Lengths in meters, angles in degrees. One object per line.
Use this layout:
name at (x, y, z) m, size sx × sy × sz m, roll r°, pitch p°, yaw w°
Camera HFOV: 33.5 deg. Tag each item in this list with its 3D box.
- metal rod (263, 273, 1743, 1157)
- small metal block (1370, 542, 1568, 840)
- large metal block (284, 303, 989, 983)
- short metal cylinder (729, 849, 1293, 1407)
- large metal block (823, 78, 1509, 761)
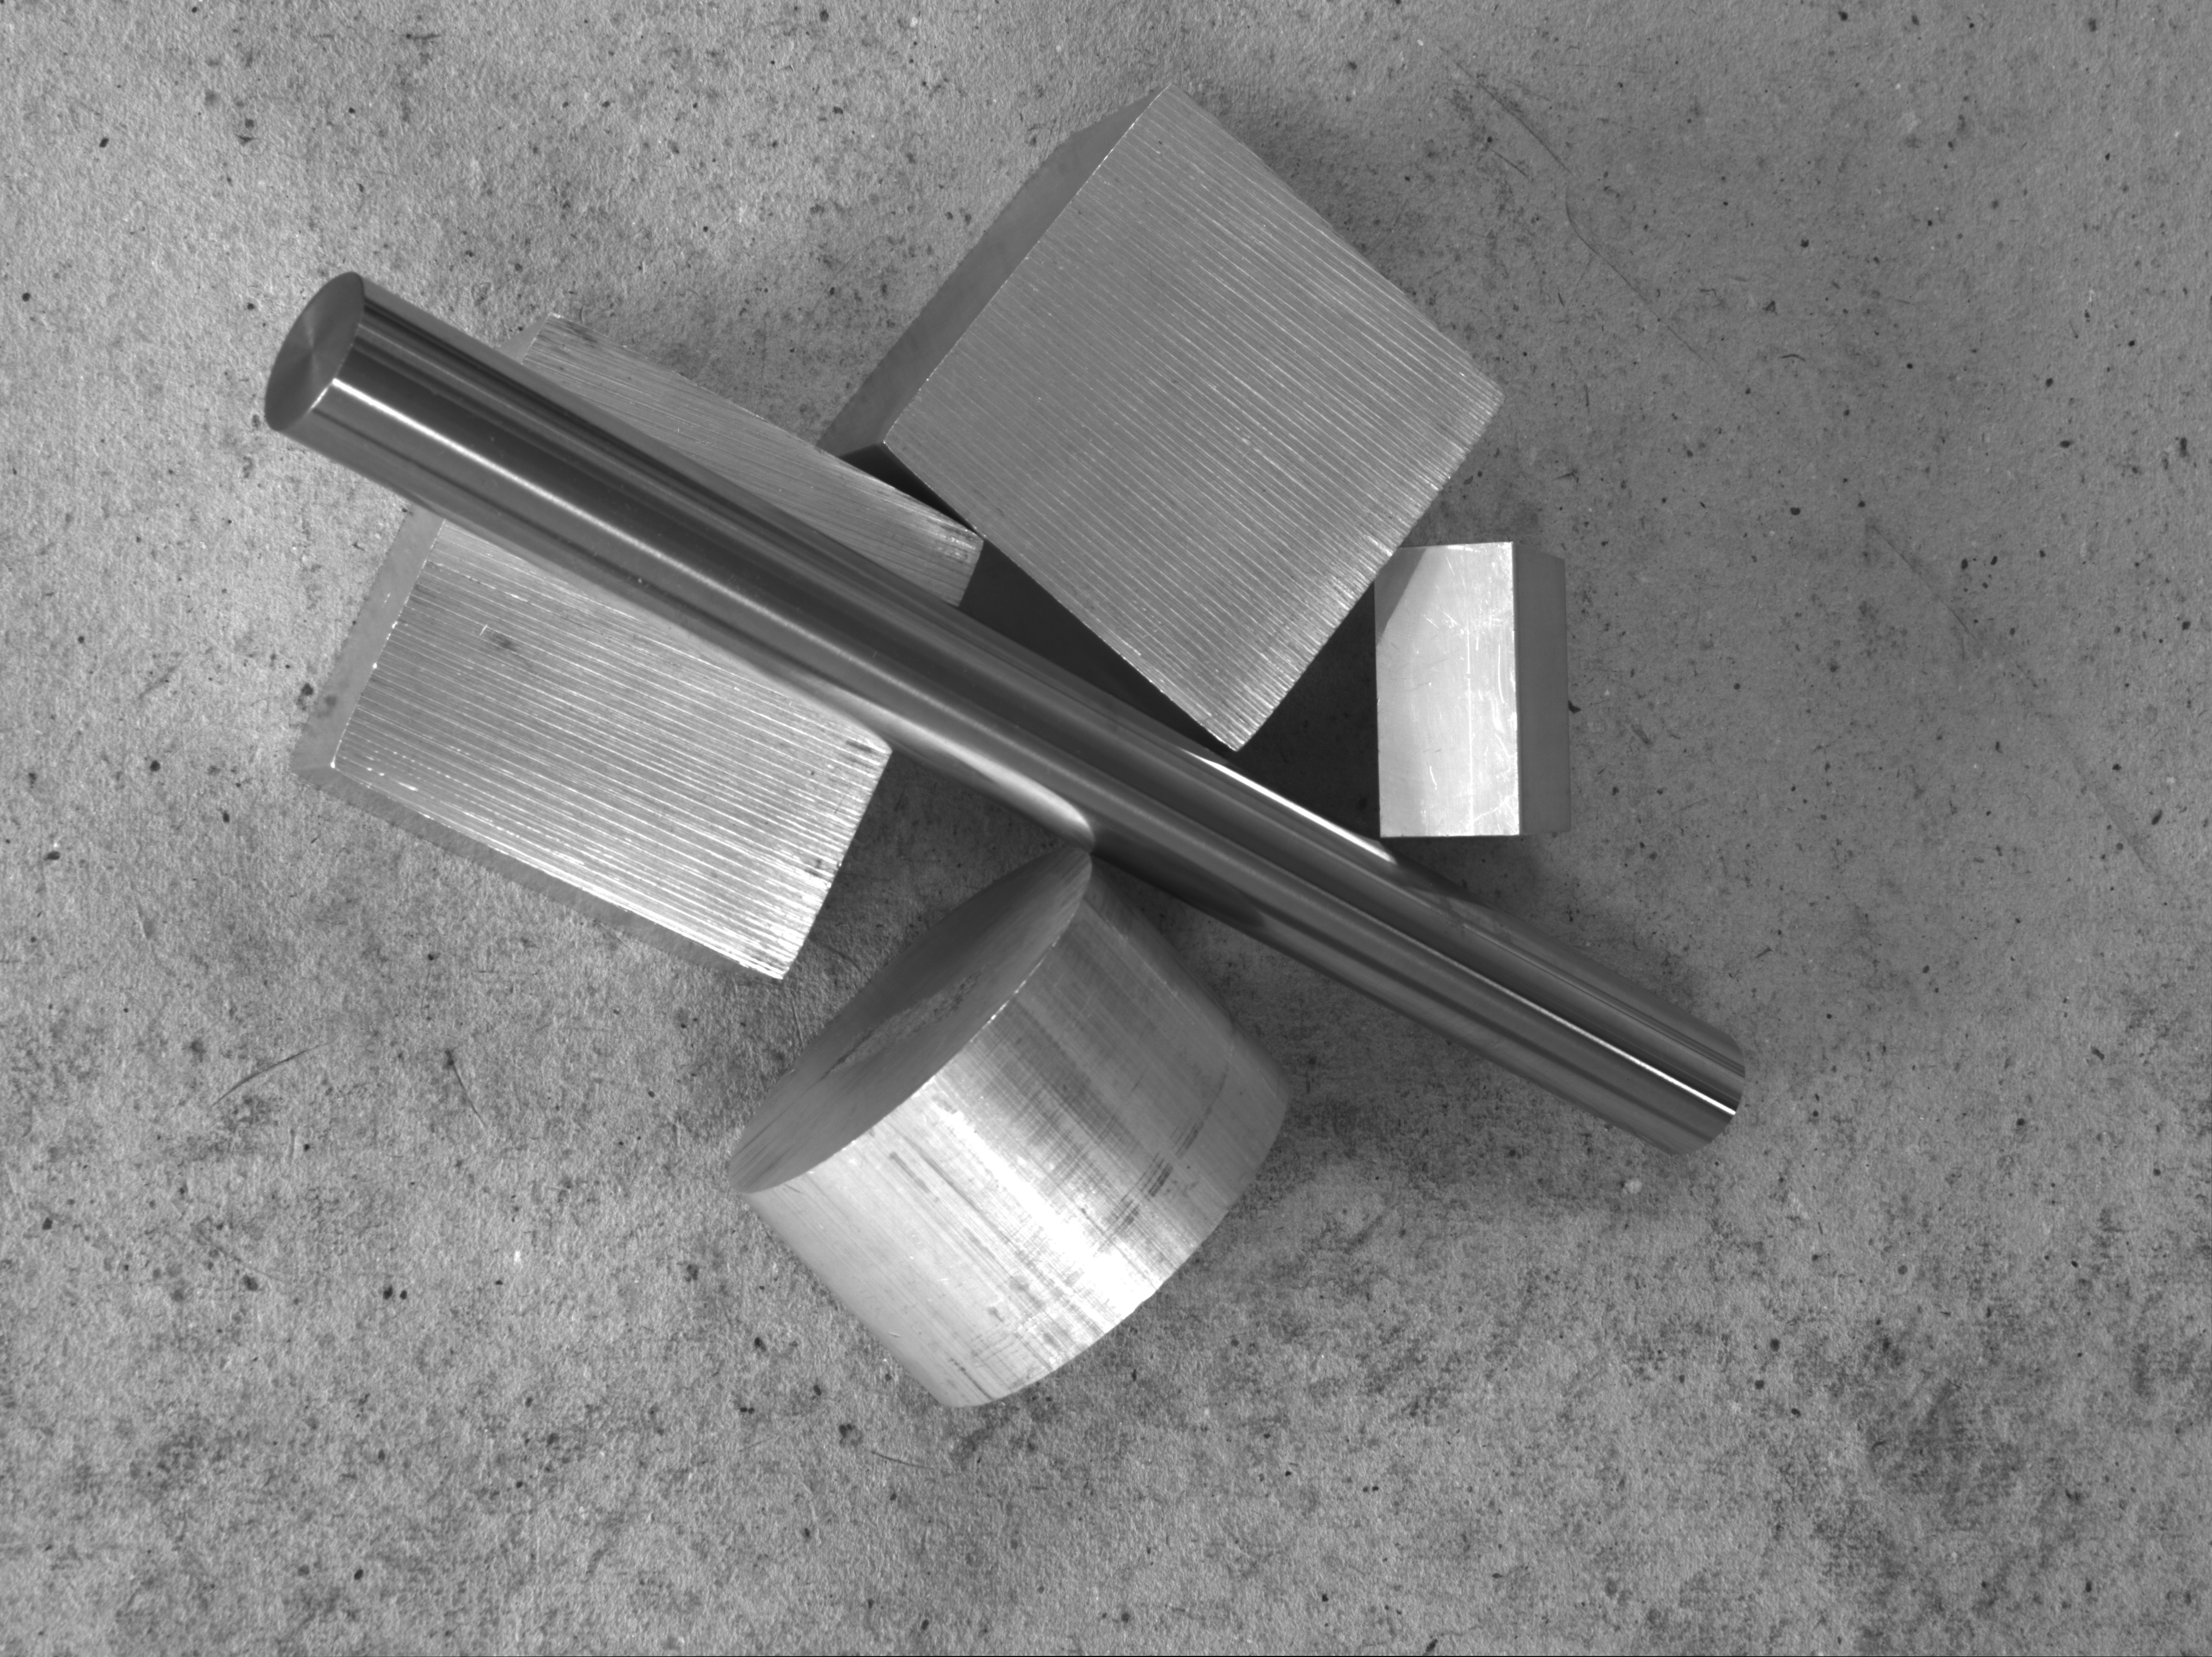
metal rod at (-0.001, -0.009, 0.600) m, size 0.301 × 0.025 × 0.025 m, roll 28°, pitch 80°, yaw -34°
small metal block at (0.065, -0.024, 0.651) m, size 0.025 × 0.050 × 0.050 m, roll -1°, pitch 91°, yaw 16°
large metal block at (-0.077, -0.029, 0.602) m, size 0.080 × 0.050 × 0.080 m, roll 26°, pitch 81°, yaw -18°
short metal cylinder at (-0.016, 0.049, 0.608) m, size 0.080 × 0.080 × 0.050 m, roll -46°, pitch 104°, yaw -14°
large metal block at (0.007, -0.067, 0.630) m, size 0.080 × 0.050 × 0.080 m, roll 41°, pitch 77°, yaw -15°
